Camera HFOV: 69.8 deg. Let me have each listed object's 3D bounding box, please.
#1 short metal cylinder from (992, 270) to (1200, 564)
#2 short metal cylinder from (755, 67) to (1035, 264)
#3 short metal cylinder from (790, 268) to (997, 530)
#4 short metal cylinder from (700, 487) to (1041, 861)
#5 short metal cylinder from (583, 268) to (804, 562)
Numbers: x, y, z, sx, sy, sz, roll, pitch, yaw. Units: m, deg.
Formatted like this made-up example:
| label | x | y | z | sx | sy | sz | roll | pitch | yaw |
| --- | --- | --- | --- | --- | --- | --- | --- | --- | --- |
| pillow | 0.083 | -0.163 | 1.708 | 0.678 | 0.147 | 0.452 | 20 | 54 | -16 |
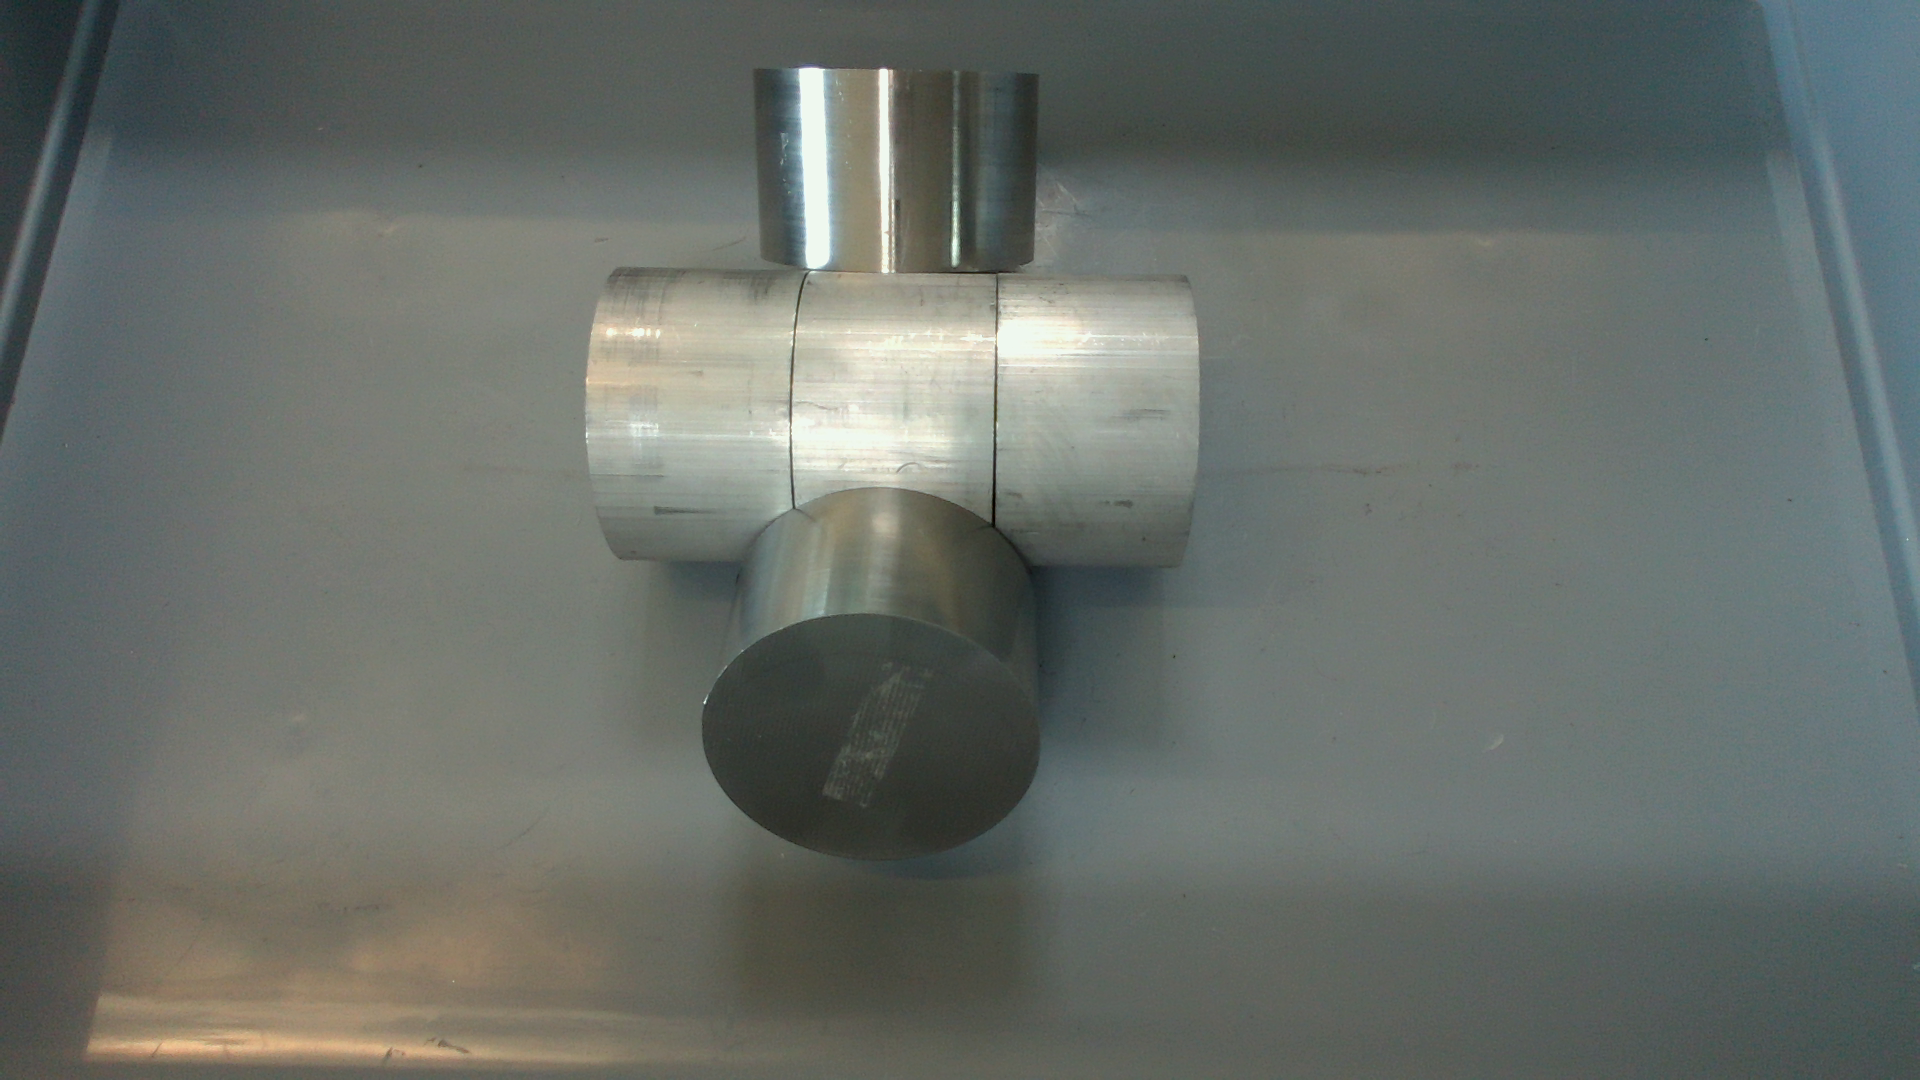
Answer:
| label | x | y | z | sx | sy | sz | roll | pitch | yaw |
| --- | --- | --- | --- | --- | --- | --- | --- | --- | --- |
| short metal cylinder | 0.034 | -0.033 | 0.376 | 0.050 | 0.080 | 0.080 | 1 | 70 | 1 |
| short metal cylinder | -0.019 | -0.108 | 0.396 | 0.080 | 0.080 | 0.050 | 2 | 108 | 1 |
| short metal cylinder | -0.016 | -0.034 | 0.376 | 0.050 | 0.080 | 0.080 | 1 | 70 | 1 |
| short metal cylinder | -0.021 | 0.034 | 0.344 | 0.080 | 0.080 | 0.050 | 0 | 36 | 0 |
| short metal cylinder | -0.066 | -0.034 | 0.376 | 0.050 | 0.080 | 0.080 | 1 | 70 | 1 |
